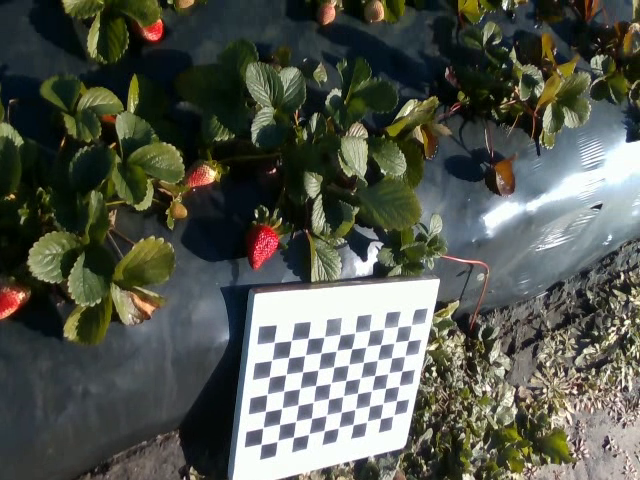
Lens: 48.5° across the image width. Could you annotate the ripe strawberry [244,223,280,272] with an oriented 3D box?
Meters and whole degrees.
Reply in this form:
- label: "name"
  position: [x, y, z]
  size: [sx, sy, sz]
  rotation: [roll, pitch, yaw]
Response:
- label: "ripe strawberry"
  position: [-0.070, 0.009, 0.789]
  size: [0.058, 0.062, 0.066]
  rotation: [-28, -50, 14]
